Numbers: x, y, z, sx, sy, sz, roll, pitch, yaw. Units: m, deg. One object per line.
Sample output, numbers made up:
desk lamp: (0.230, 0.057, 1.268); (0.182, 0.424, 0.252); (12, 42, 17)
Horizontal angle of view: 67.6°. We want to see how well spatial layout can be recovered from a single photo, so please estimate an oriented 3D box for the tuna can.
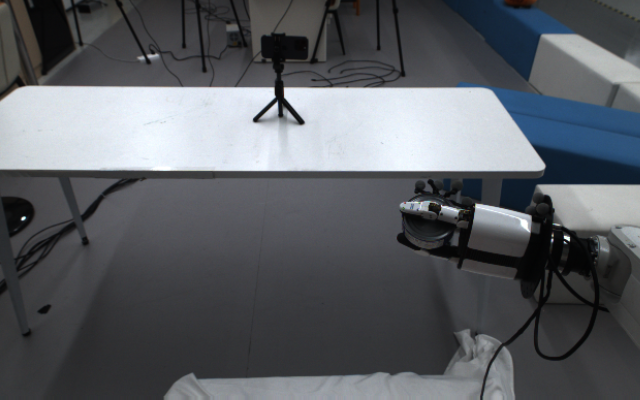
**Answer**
tuna can: (0.173, 0.030, 0.766); (0.085, 0.034, 0.085); (-4, 55, 6)
